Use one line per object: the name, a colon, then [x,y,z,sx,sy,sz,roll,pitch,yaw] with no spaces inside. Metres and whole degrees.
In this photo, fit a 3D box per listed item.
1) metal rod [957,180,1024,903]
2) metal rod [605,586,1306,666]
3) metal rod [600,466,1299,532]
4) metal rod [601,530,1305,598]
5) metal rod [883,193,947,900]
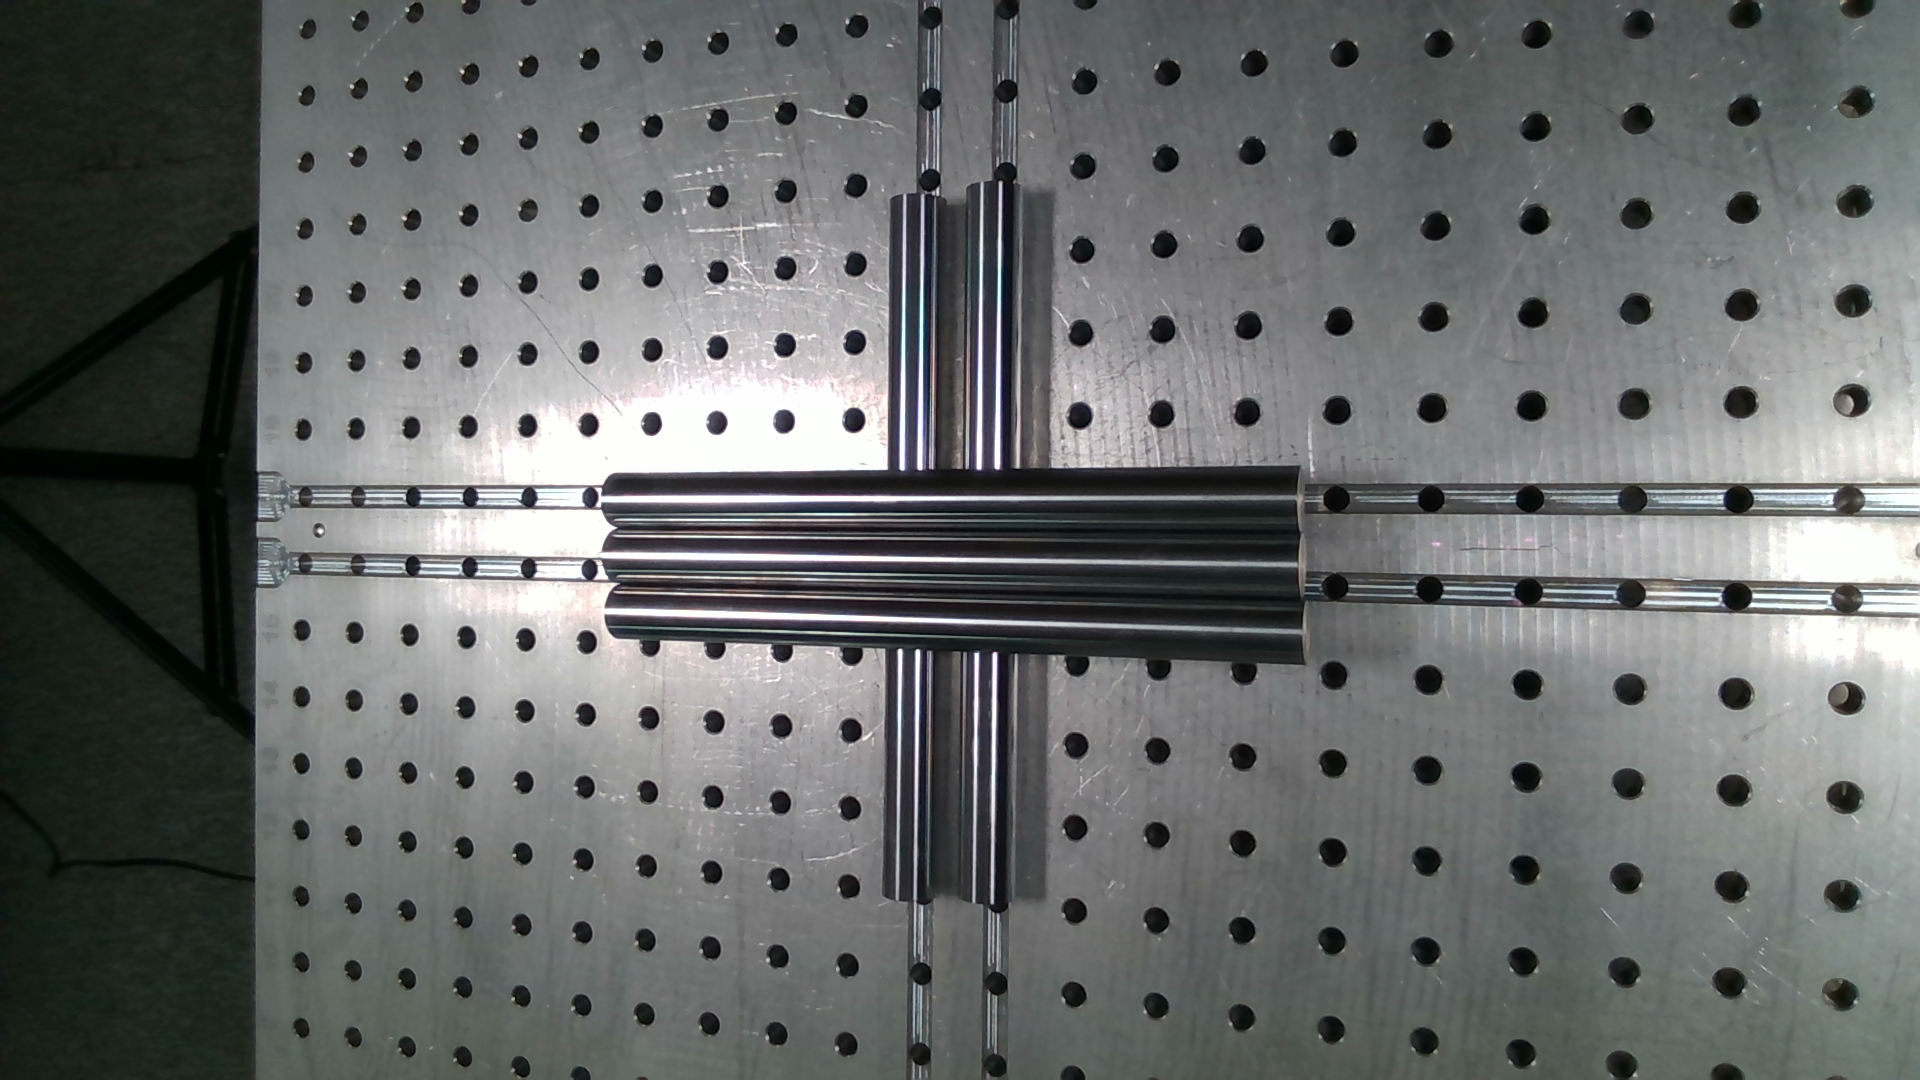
metal rod: [0.013,0.001,0.584,0.025,0.025,0.300,1,91,20]
metal rod: [-0.012,0.033,0.566,0.300,0.025,0.025,0,91,20]
metal rod: [-0.014,-0.017,0.567,0.300,0.025,0.025,0,91,20]
metal rod: [-0.013,0.008,0.567,0.300,0.025,0.025,0,91,20]
metal rod: [-0.020,0.003,0.596,0.025,0.025,0.300,1,91,20]
